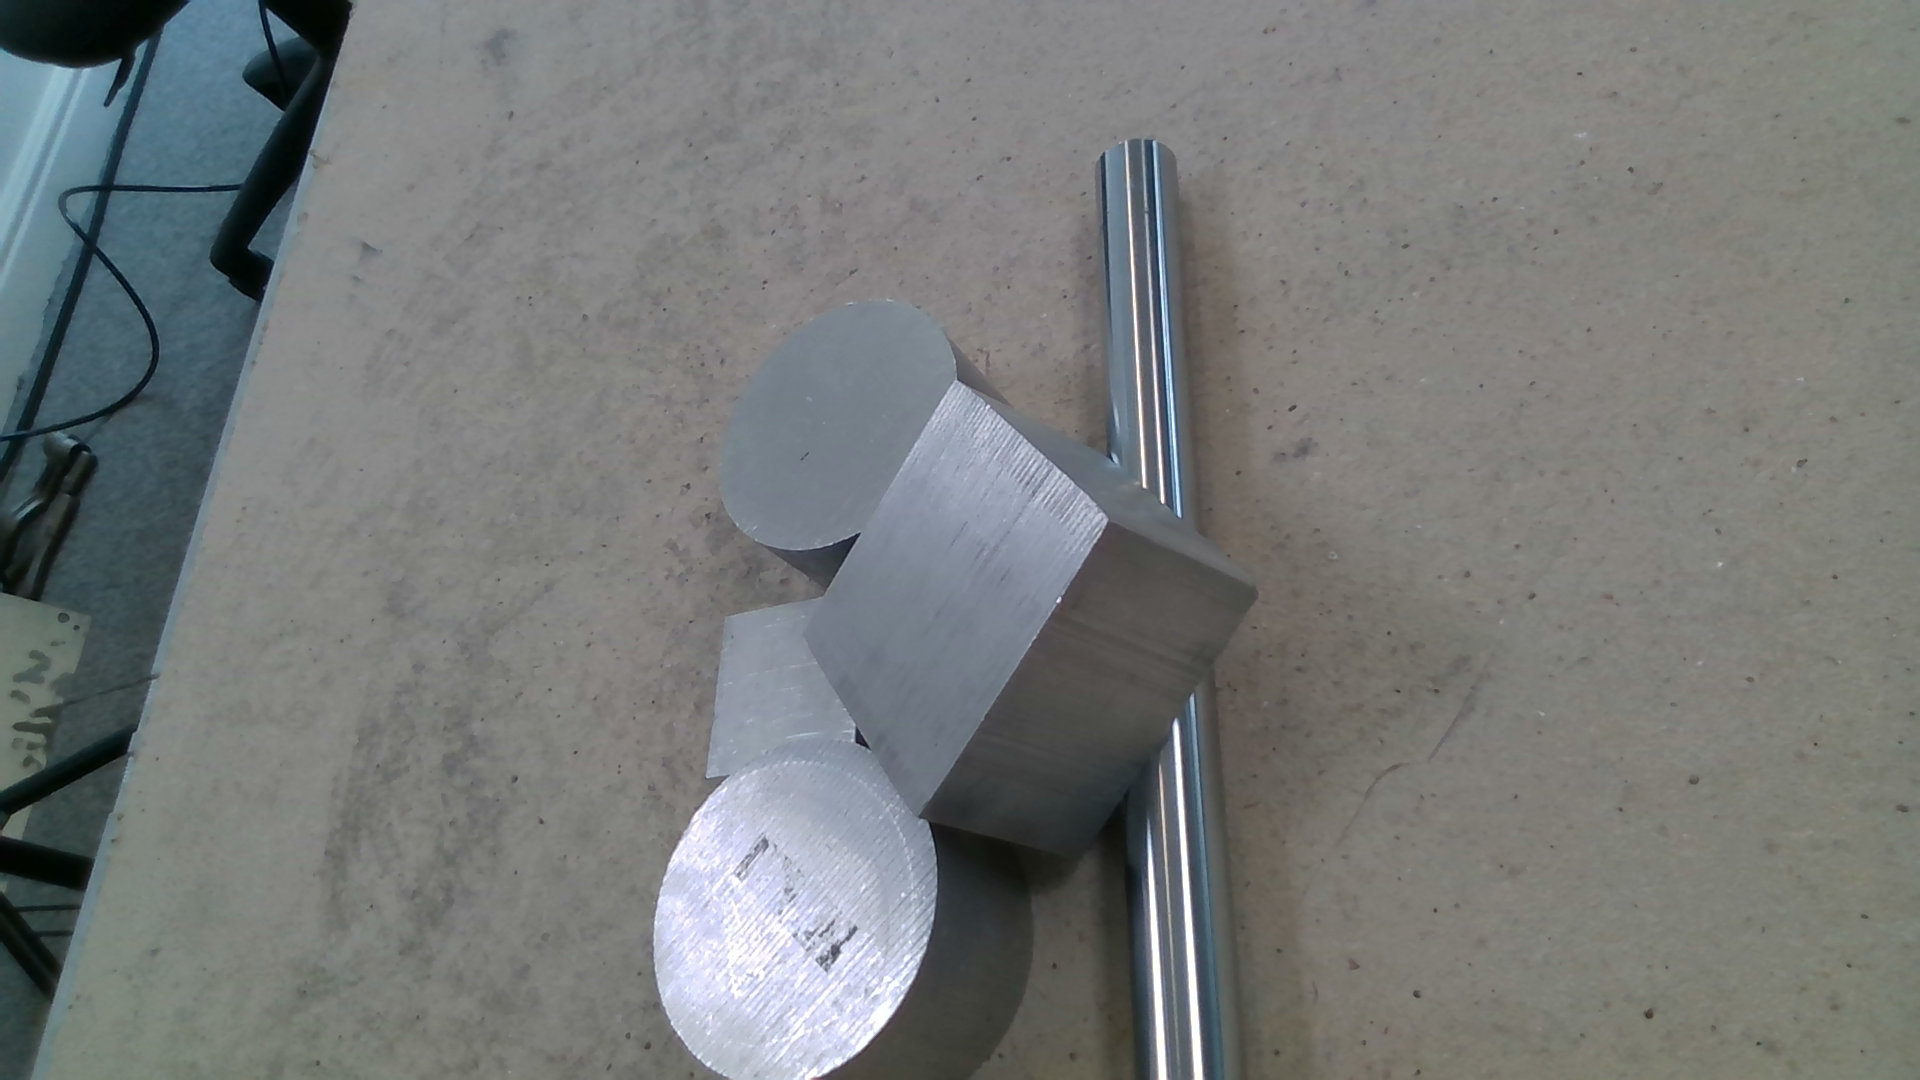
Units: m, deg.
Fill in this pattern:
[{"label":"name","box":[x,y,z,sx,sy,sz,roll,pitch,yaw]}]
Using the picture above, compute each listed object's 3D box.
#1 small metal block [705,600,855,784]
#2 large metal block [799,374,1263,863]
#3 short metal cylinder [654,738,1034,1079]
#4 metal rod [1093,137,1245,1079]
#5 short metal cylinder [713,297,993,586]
[{"label":"small metal block","box":[-0.043,0.046,0.396,0.050,0.025,0.050,-13,60,26]},{"label":"large metal block","box":[0.013,0.018,0.337,0.080,0.050,0.080,-59,36,13]},{"label":"short metal cylinder","box":[-0.029,0.096,0.344,0.080,0.050,0.080,-14,59,25]},{"label":"metal rod","box":[0.051,0.019,0.351,0.025,0.025,0.299,-13,59,25]},{"label":"short metal cylinder","box":[-0.025,-0.023,0.404,0.080,0.050,0.080,-14,59,25]}]
